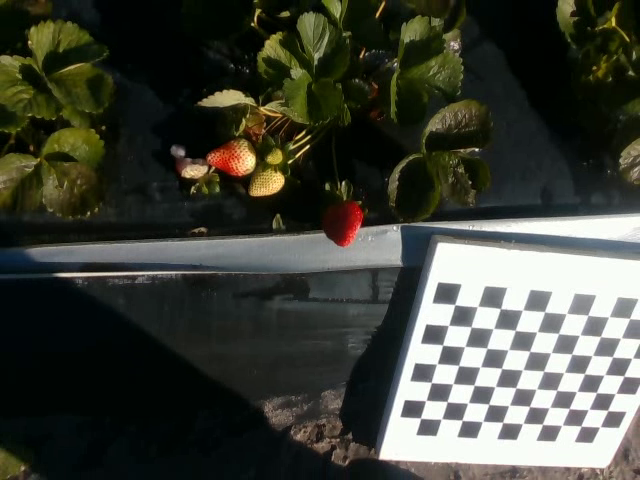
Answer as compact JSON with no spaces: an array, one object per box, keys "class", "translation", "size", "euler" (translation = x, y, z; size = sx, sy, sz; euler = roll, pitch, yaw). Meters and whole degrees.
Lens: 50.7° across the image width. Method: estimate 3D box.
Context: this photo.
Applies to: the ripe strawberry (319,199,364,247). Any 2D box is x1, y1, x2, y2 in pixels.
[{"class":"ripe strawberry","translation":[0.017,-0.009,0.498],"size":[0.036,0.038,0.046],"euler":[5,40,-8]}]
